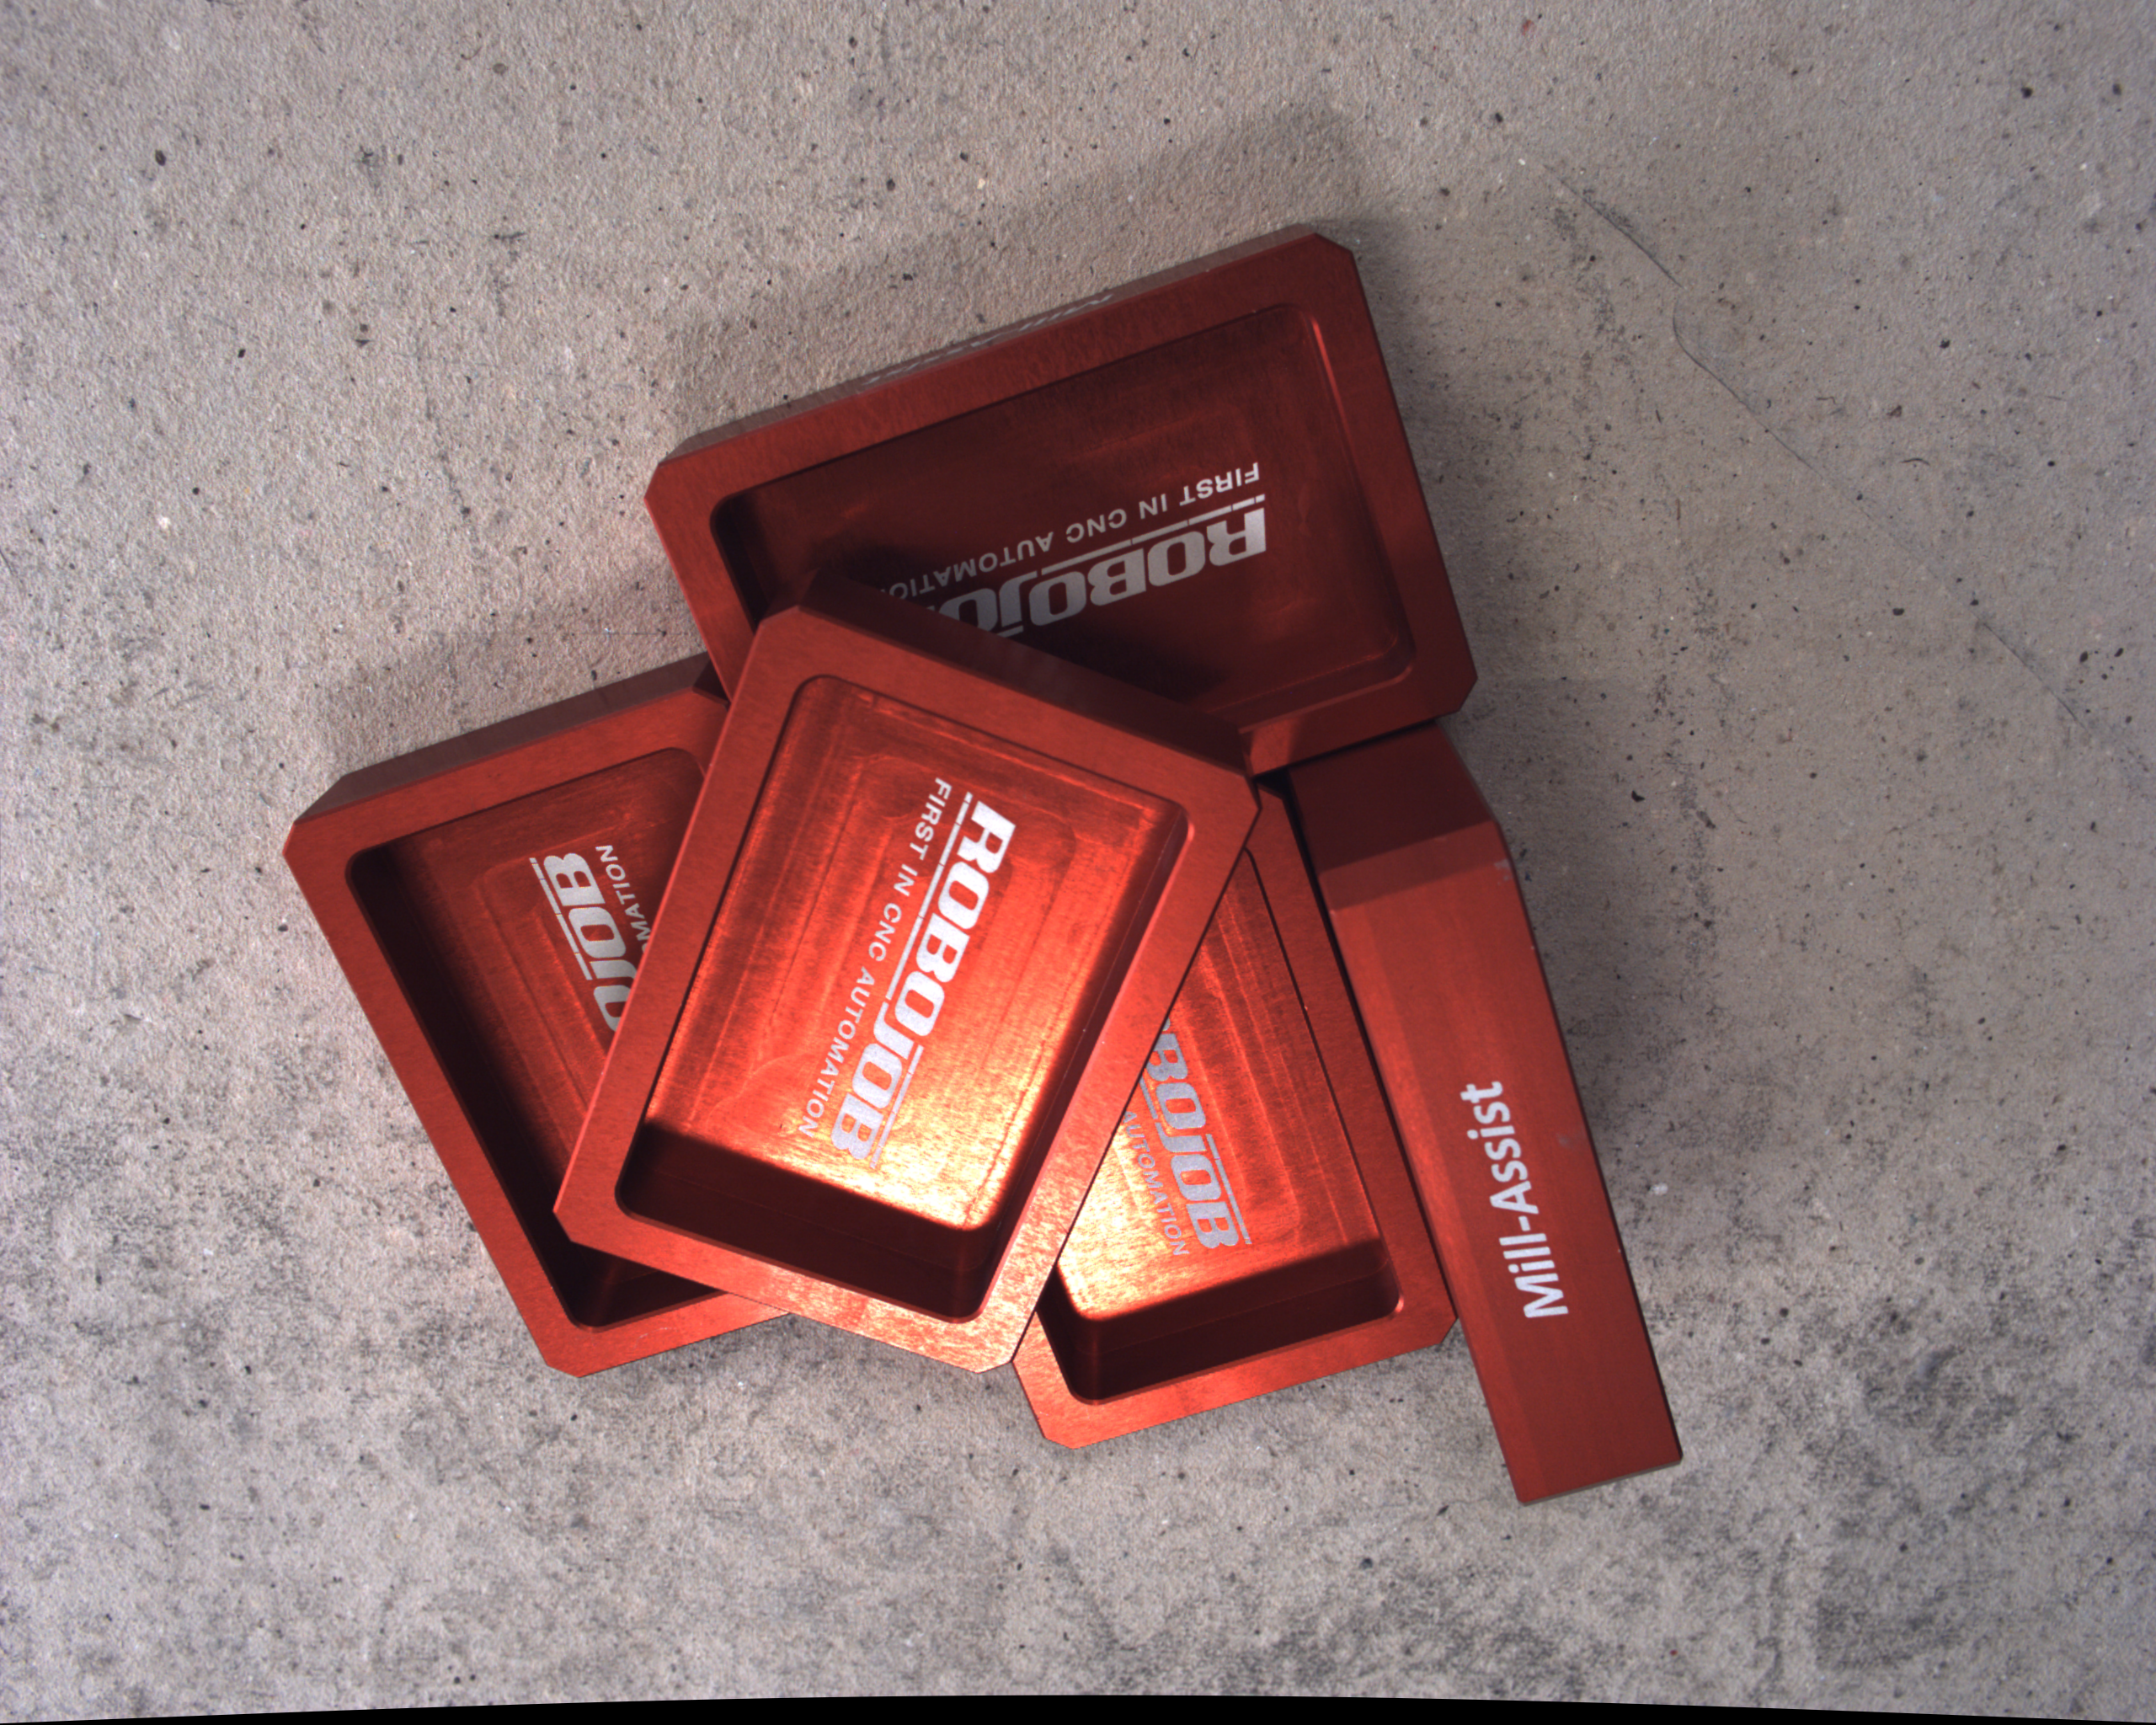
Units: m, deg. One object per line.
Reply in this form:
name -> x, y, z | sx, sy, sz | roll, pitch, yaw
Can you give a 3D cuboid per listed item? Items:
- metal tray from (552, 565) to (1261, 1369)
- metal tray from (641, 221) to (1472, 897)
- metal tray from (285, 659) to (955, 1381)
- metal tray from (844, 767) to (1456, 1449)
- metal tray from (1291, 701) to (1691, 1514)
metal tray -> -0.033, 0.022, 0.385 | 0.090, 0.030, 0.129 | 21, 109, -7
metal tray -> -0.003, -0.055, 0.389 | 0.131, 0.030, 0.090 | -17, 109, 7
metal tray -> -0.086, 0.033, 0.419 | 0.090, 0.030, 0.129 | -18, 109, 6
metal tray -> 0.016, 0.049, 0.425 | 0.090, 0.030, 0.129 | -18, 111, 7
metal tray -> 0.075, 0.042, 0.390 | 0.030, 0.090, 0.129 | -17, 110, 6
